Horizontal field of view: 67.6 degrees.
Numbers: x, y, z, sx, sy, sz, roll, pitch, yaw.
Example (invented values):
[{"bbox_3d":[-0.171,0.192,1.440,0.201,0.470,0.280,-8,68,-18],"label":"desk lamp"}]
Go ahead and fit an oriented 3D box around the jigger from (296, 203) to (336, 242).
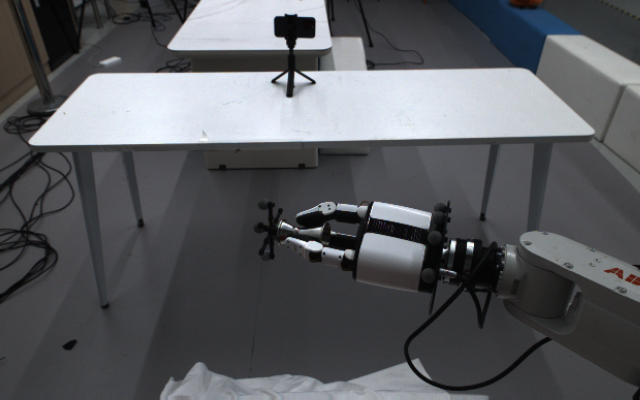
[{"bbox_3d":[-0.017,0.047,0.696,0.071,0.043,0.043,5,34,17],"label":"jigger"}]
